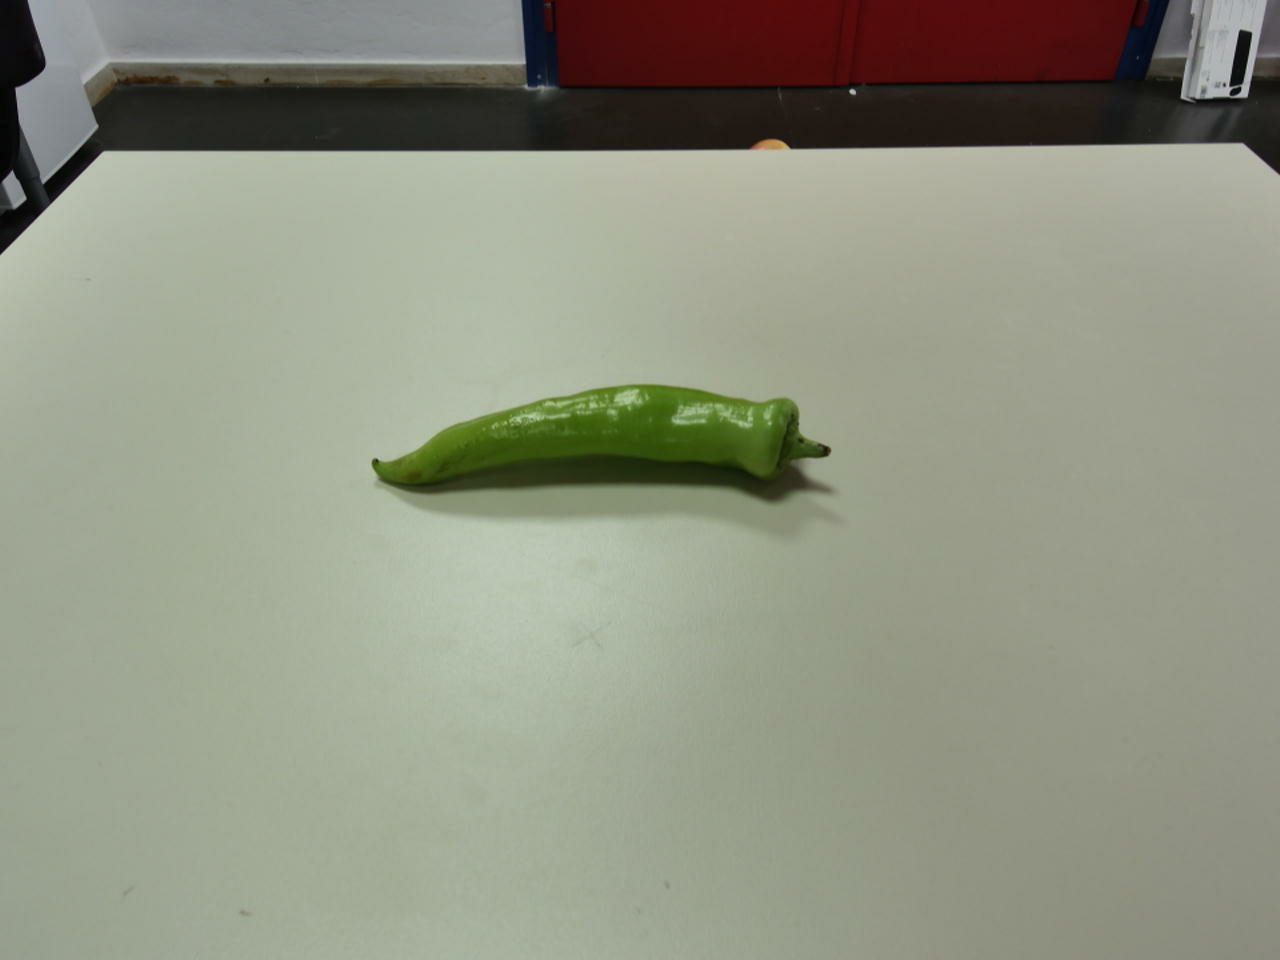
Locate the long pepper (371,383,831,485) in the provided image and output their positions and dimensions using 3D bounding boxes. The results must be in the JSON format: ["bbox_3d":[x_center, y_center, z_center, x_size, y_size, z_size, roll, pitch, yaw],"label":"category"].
[{"bbox_3d":[-0.017,-0.021,0.434,0.197,0.038,0.046,1,39,2],"label":"long pepper"}]
